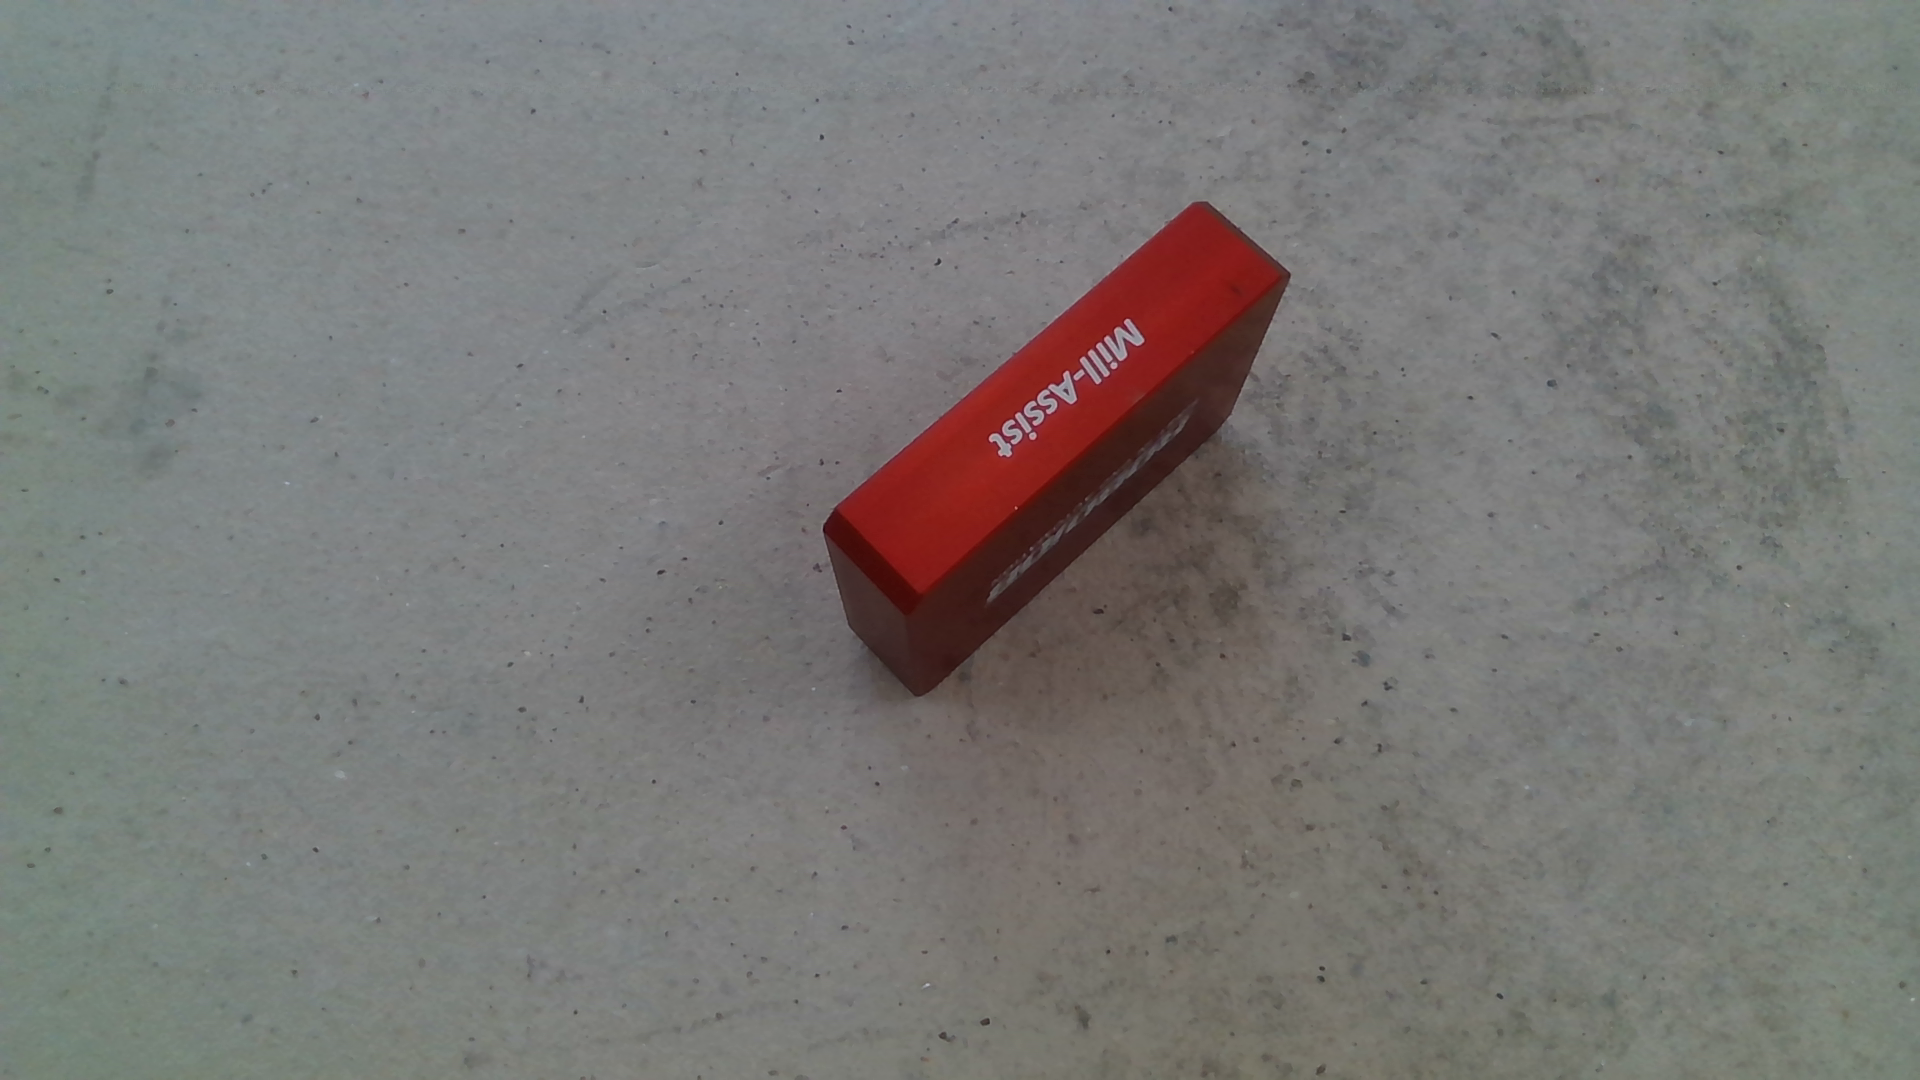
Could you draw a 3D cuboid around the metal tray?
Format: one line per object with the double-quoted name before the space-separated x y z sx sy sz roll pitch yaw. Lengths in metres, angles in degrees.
"metal tray" 0.025 -0.021 0.368 0.130 0.090 0.030 -42 75 -13
